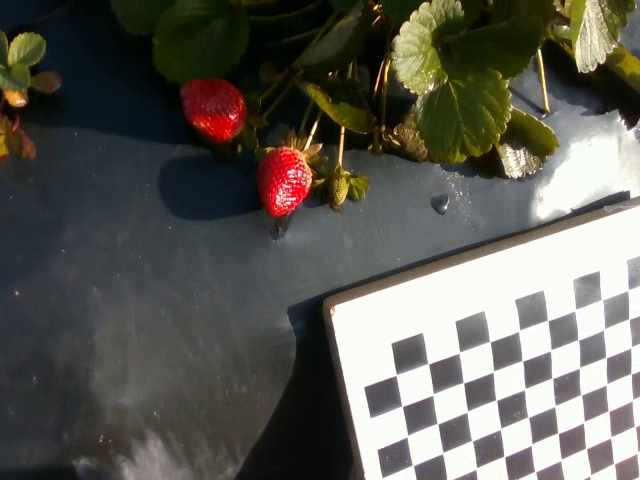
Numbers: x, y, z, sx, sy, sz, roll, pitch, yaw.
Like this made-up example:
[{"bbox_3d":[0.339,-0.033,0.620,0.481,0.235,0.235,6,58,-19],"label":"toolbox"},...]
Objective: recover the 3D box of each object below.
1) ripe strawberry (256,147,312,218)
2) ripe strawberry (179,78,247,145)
[{"bbox_3d":[-0.024,-0.037,0.376,0.043,0.053,0.038,30,-41,-20],"label":"ripe strawberry"},{"bbox_3d":[-0.071,-0.087,0.389,0.054,0.048,0.039,-3,11,-42],"label":"ripe strawberry"}]
